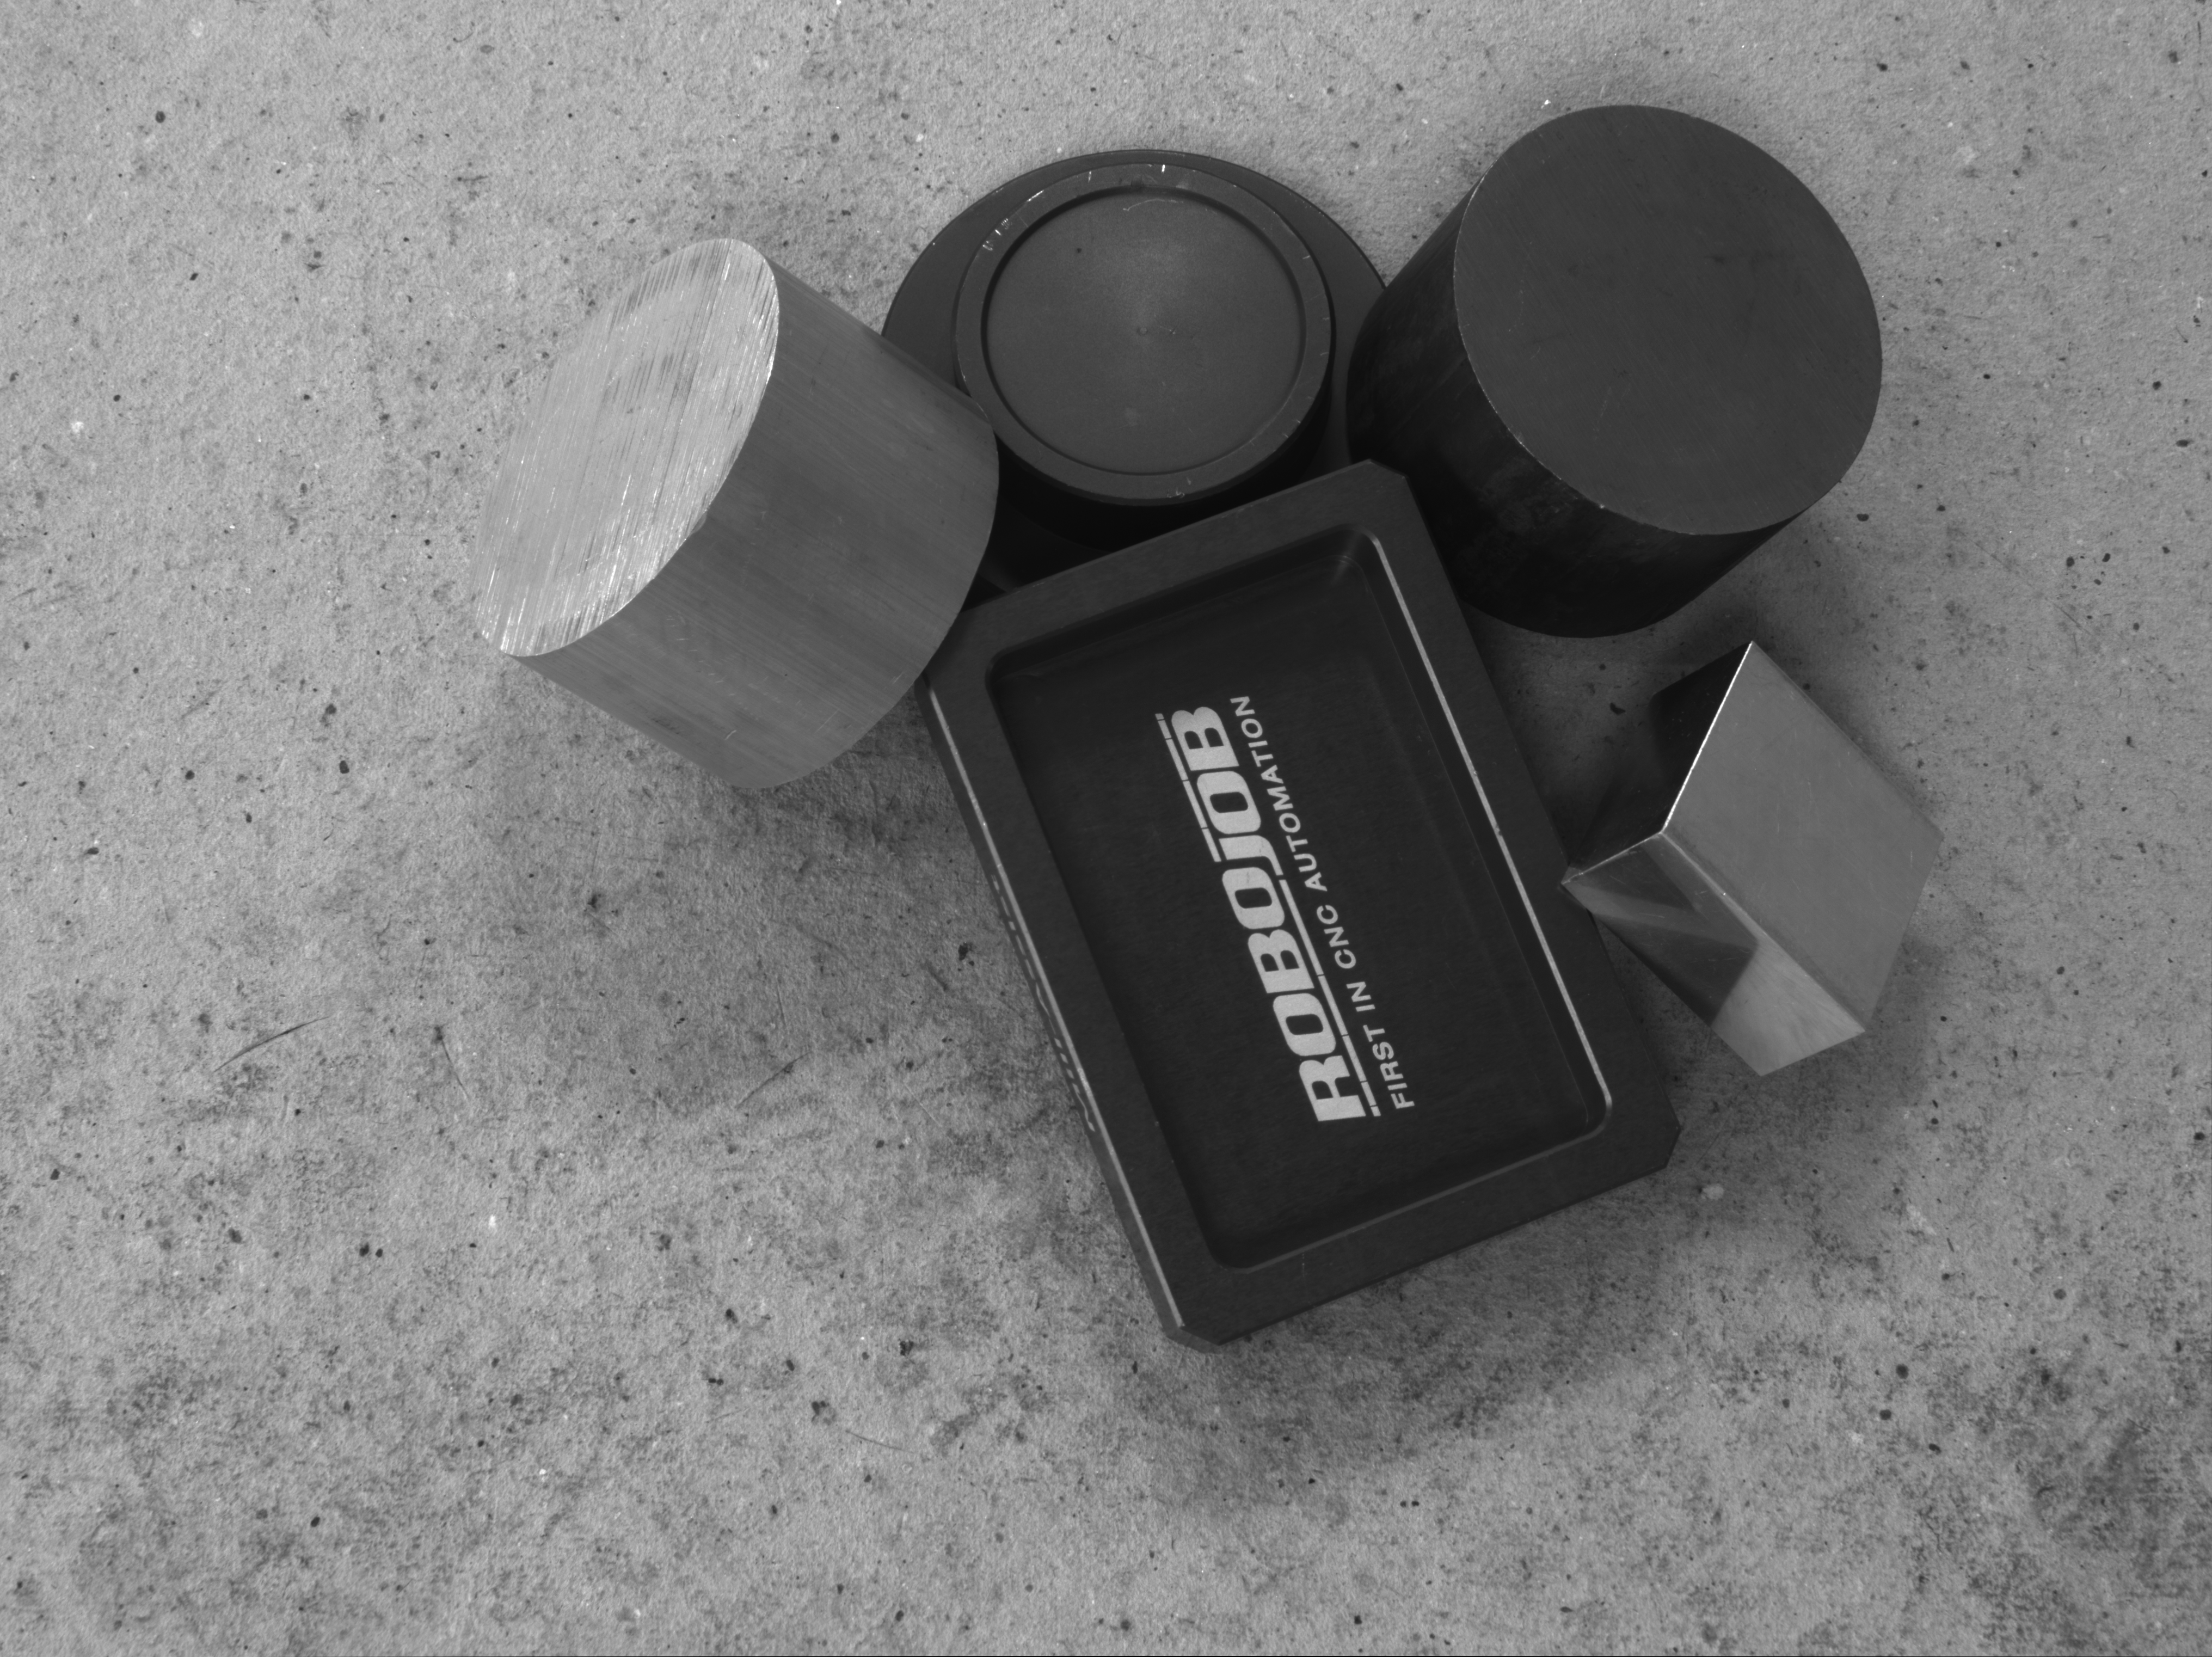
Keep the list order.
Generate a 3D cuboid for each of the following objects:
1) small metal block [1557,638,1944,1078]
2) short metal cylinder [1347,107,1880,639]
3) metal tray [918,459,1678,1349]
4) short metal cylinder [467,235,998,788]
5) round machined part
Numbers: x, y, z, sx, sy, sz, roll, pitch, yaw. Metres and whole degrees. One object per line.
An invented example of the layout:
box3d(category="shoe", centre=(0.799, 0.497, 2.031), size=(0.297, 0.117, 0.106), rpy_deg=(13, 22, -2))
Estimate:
box3d(category="small metal block", centre=(0.110, 0.005, 0.625), size=(0.050, 0.025, 0.050), rpy_deg=(43, 49, -13))
box3d(category="short metal cylinder", centre=(0.089, -0.080, 0.651), size=(0.080, 0.050, 0.080), rpy_deg=(6, 71, -17))
box3d(category="metal tray", centre=(0.030, 0.013, 0.626), size=(0.090, 0.030, 0.130), rpy_deg=(-21, 81, -7))
box3d(category="short metal cylinder", centre=(-0.064, -0.054, 0.629), size=(0.050, 0.080, 0.080), rpy_deg=(32, 66, -35))
box3d(category="round machined part", centre=(0.006, -0.081, 0.667), size=(0.098, 0.042, 0.098), rpy_deg=(0, 70, 0))
